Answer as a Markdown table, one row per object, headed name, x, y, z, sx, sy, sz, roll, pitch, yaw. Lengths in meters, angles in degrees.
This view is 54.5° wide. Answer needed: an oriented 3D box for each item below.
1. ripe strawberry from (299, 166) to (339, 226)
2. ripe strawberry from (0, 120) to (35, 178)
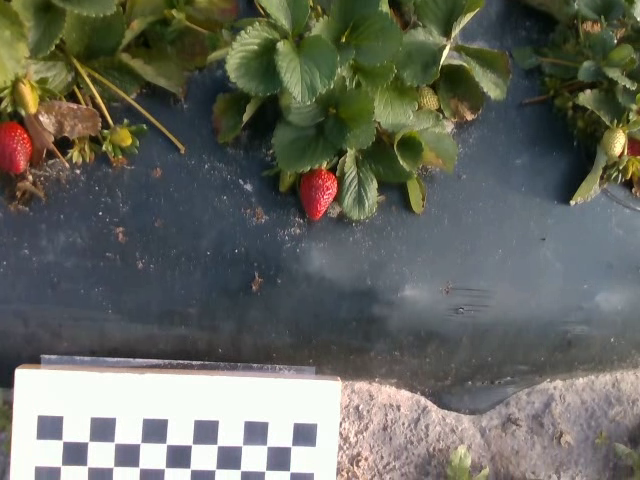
| name | x | y | z | sx | sy | sz | roll | pitch | yaw |
| --- | --- | --- | --- | --- | --- | --- | --- | --- | --- |
| ripe strawberry | -0.002 | -0.026 | 0.372 | 0.029 | 0.036 | 0.021 | 5 | -9 | -3 |
| ripe strawberry | -0.174 | -0.048 | 0.344 | 0.031 | 0.030 | 0.026 | -34 | -16 | -7 |
